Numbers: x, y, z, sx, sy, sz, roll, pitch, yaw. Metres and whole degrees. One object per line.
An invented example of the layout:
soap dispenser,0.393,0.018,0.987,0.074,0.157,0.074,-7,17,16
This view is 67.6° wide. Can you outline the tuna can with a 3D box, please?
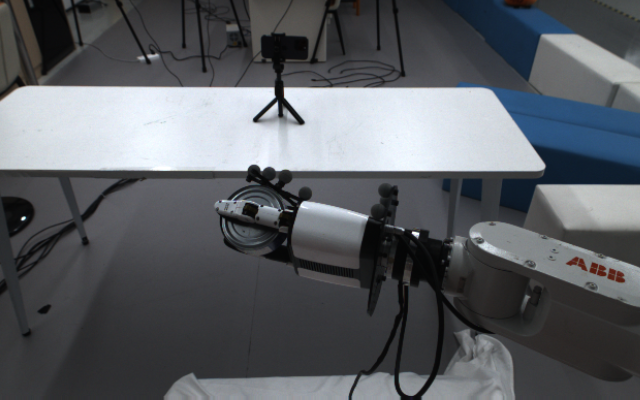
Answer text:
tuna can,-0.079,0.025,0.613,0.085,0.034,0.085,-4,67,10
